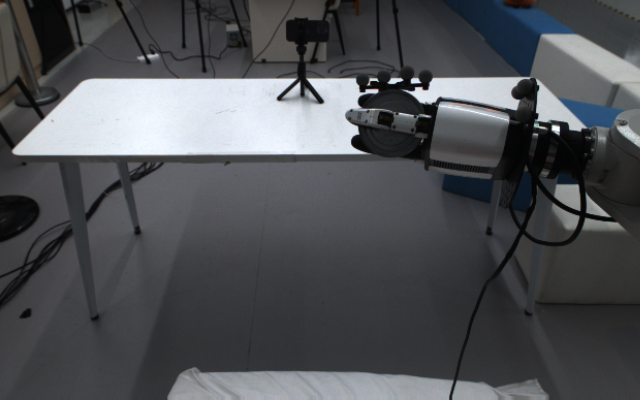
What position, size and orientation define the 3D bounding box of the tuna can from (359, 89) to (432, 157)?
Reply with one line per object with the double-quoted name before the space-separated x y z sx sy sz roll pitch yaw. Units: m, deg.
"tuna can" 0.094 -0.098 0.624 0.085 0.085 0.034 12 8 14
